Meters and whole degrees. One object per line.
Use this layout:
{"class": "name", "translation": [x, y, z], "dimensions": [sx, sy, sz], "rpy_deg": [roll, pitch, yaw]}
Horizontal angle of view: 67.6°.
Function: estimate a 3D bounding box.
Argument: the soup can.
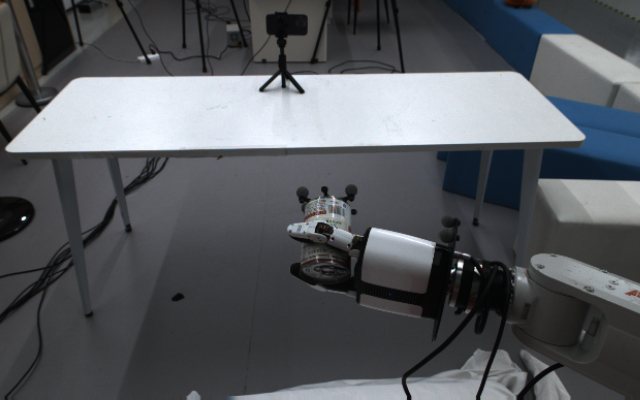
{"class": "soup can", "translation": [0.010, 0.054, 0.651], "dimensions": [0.067, 0.067, 0.101], "rpy_deg": [3, 57, 1]}
